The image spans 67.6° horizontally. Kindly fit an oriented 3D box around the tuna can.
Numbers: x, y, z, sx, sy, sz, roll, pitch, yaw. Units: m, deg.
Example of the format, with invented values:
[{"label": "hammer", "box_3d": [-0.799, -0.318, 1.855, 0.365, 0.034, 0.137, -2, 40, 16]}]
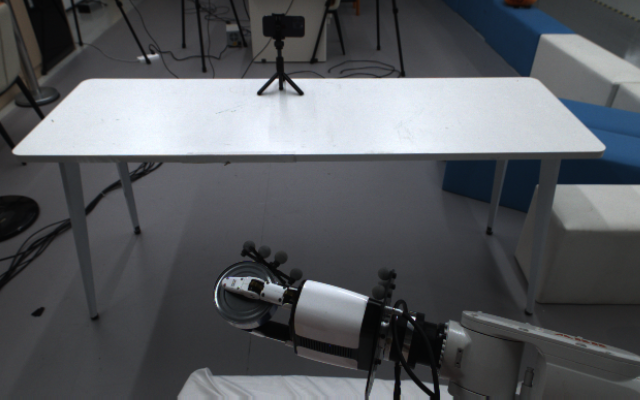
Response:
[{"label": "tuna can", "box_3d": [-0.095, 0.127, 0.645, 0.085, 0.034, 0.085, -2, 60, 3]}]
